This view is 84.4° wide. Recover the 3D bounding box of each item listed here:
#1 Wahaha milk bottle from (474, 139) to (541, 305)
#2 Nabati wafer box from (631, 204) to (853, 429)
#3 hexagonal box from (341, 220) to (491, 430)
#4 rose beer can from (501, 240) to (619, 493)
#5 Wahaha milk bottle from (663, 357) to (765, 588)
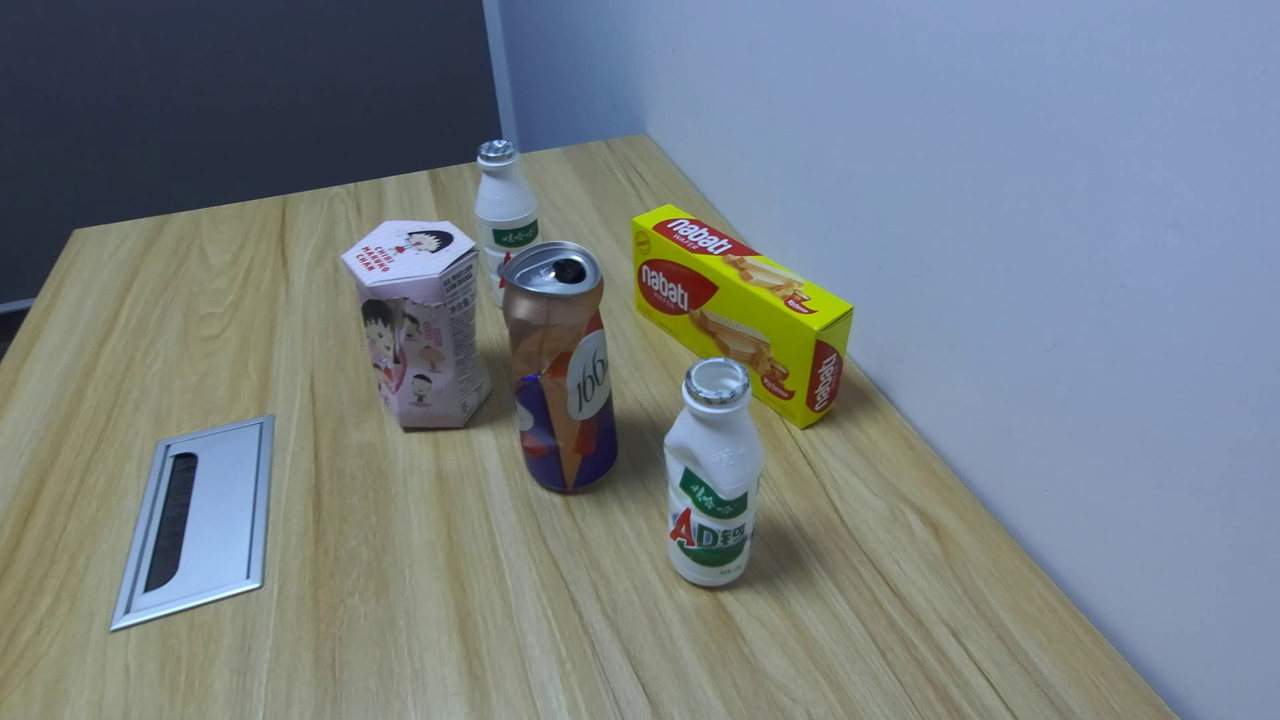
[{"bbox_3d":[-0.111,-0.115,0.609,0.053,0.147,0.053,0,42,0],"label":"Wahaha milk bottle"},{"bbox_3d":[0.070,-0.040,0.553,0.042,0.093,0.202,-27,46,-28],"label":"Nabati wafer box"},{"bbox_3d":[-0.156,-0.026,0.520,0.090,0.134,0.091,2,39,1],"label":"hexagonal box"},{"bbox_3d":[-0.050,0.009,0.450,0.068,0.162,0.073,-15,42,-15],"label":"rose beer can"},{"bbox_3d":[0.040,0.065,0.388,0.056,0.148,0.056,-1,41,1],"label":"Wahaha milk bottle"}]
